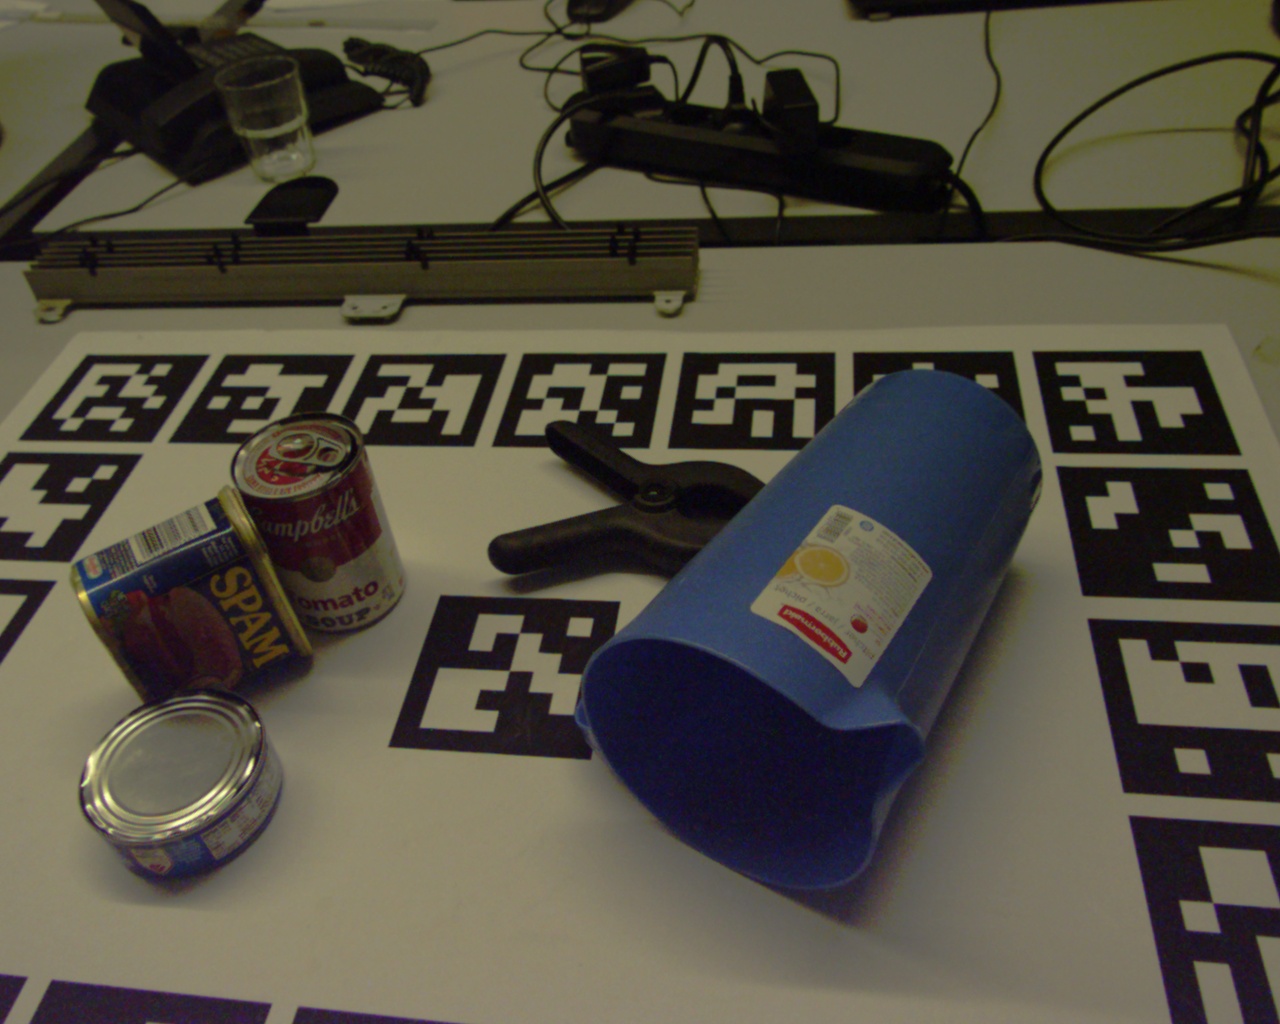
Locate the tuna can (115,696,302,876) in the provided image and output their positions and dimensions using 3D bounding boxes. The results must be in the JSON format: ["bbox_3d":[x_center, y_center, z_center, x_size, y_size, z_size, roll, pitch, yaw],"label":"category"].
[{"bbox_3d":[-0.217,0.138,0.578,0.086,0.033,0.086,-5,45,4],"label":"tuna can"}]

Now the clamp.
[{"bbox_3d":[-0.009,0.002,0.700,0.166,0.036,0.122,4,41,8],"label":"clamp"}]

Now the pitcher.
[{"bbox_3d":[0.084,0.037,0.561,0.191,0.132,0.241,-2,32,39],"label":"pitcher"}]

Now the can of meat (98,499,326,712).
[{"bbox_3d":[-0.229,0.056,0.614,0.083,0.101,0.058,-27,48,-14],"label":"can of meat"}]

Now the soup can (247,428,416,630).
[{"bbox_3d":[-0.175,0.011,0.657,0.068,0.101,0.068,-6,45,5],"label":"soup can"}]
